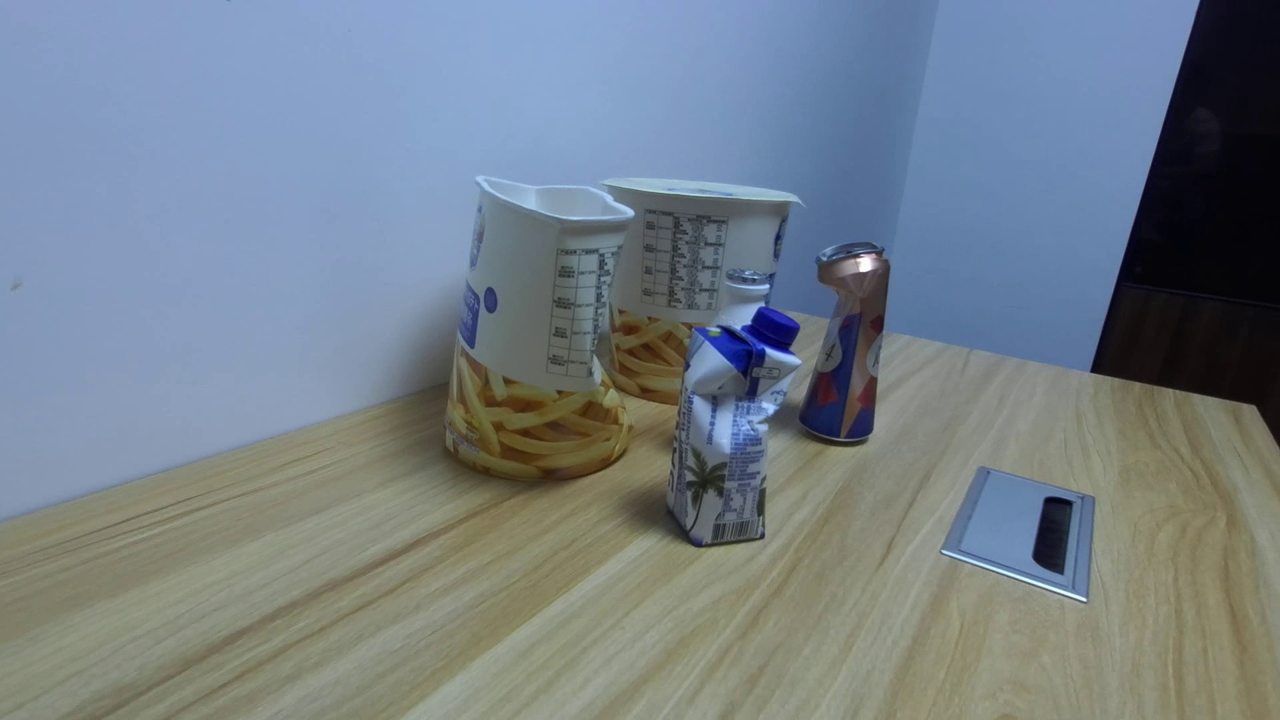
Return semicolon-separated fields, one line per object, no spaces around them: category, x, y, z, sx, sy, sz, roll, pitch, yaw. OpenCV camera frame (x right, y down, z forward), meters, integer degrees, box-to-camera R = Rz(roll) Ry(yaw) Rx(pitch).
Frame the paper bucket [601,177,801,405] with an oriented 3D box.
paper bucket;0.047;-0.070;0.691;0.198;0.194;0.198;4;18;-1

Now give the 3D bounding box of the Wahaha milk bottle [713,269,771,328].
Wahaha milk bottle;0.074;0.006;0.538;0.053;0.147;0.053;4;23;-1

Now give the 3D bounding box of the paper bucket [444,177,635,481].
paper bucket;-0.071;-0.031;0.531;0.148;0.199;0.217;-10;23;-40

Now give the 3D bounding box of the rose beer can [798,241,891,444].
rose beer can;0.176;-0.014;0.598;0.070;0.168;0.069;-14;23;-38

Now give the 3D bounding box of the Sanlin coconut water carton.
Sanlin coconut water carton;0.056;0.039;0.433;0.070;0.143;0.060;-1;20;-19
